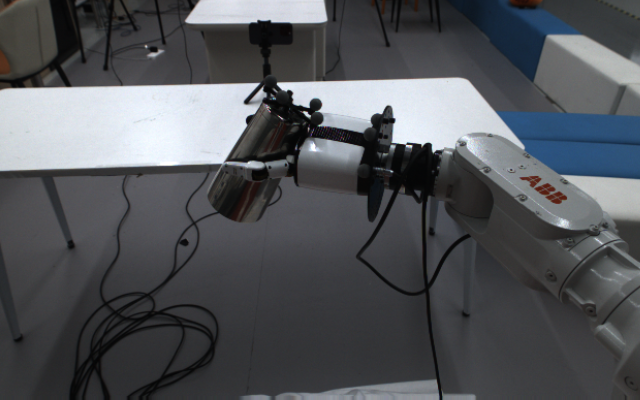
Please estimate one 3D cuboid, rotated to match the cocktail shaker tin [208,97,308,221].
[{"bbox_3d":[-0.086,-0.064,0.692,0.093,0.170,0.093,26,32,-18],"label":"cocktail shaker tin"}]
